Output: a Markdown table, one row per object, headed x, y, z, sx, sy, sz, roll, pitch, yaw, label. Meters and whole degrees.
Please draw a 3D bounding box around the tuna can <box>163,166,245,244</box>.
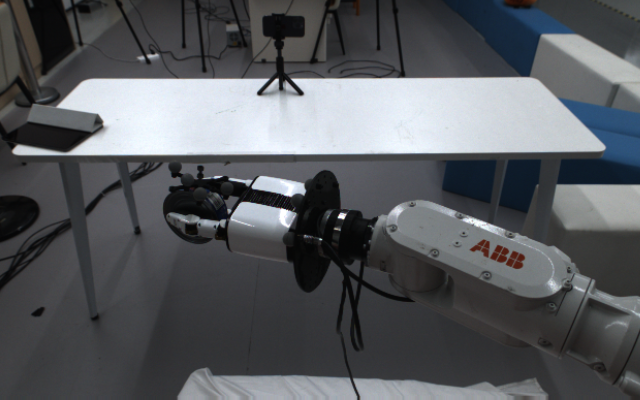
| x | y | z | sx | sy | sz | roll | pitch | yaw | label |
| --- | --- | --- | --- | --- | --- | --- | --- | --- | --- |
| -0.172 | 0.019 | 0.680 | 0.085 | 0.085 | 0.034 | 13 | 30 | 15 | tuna can |
